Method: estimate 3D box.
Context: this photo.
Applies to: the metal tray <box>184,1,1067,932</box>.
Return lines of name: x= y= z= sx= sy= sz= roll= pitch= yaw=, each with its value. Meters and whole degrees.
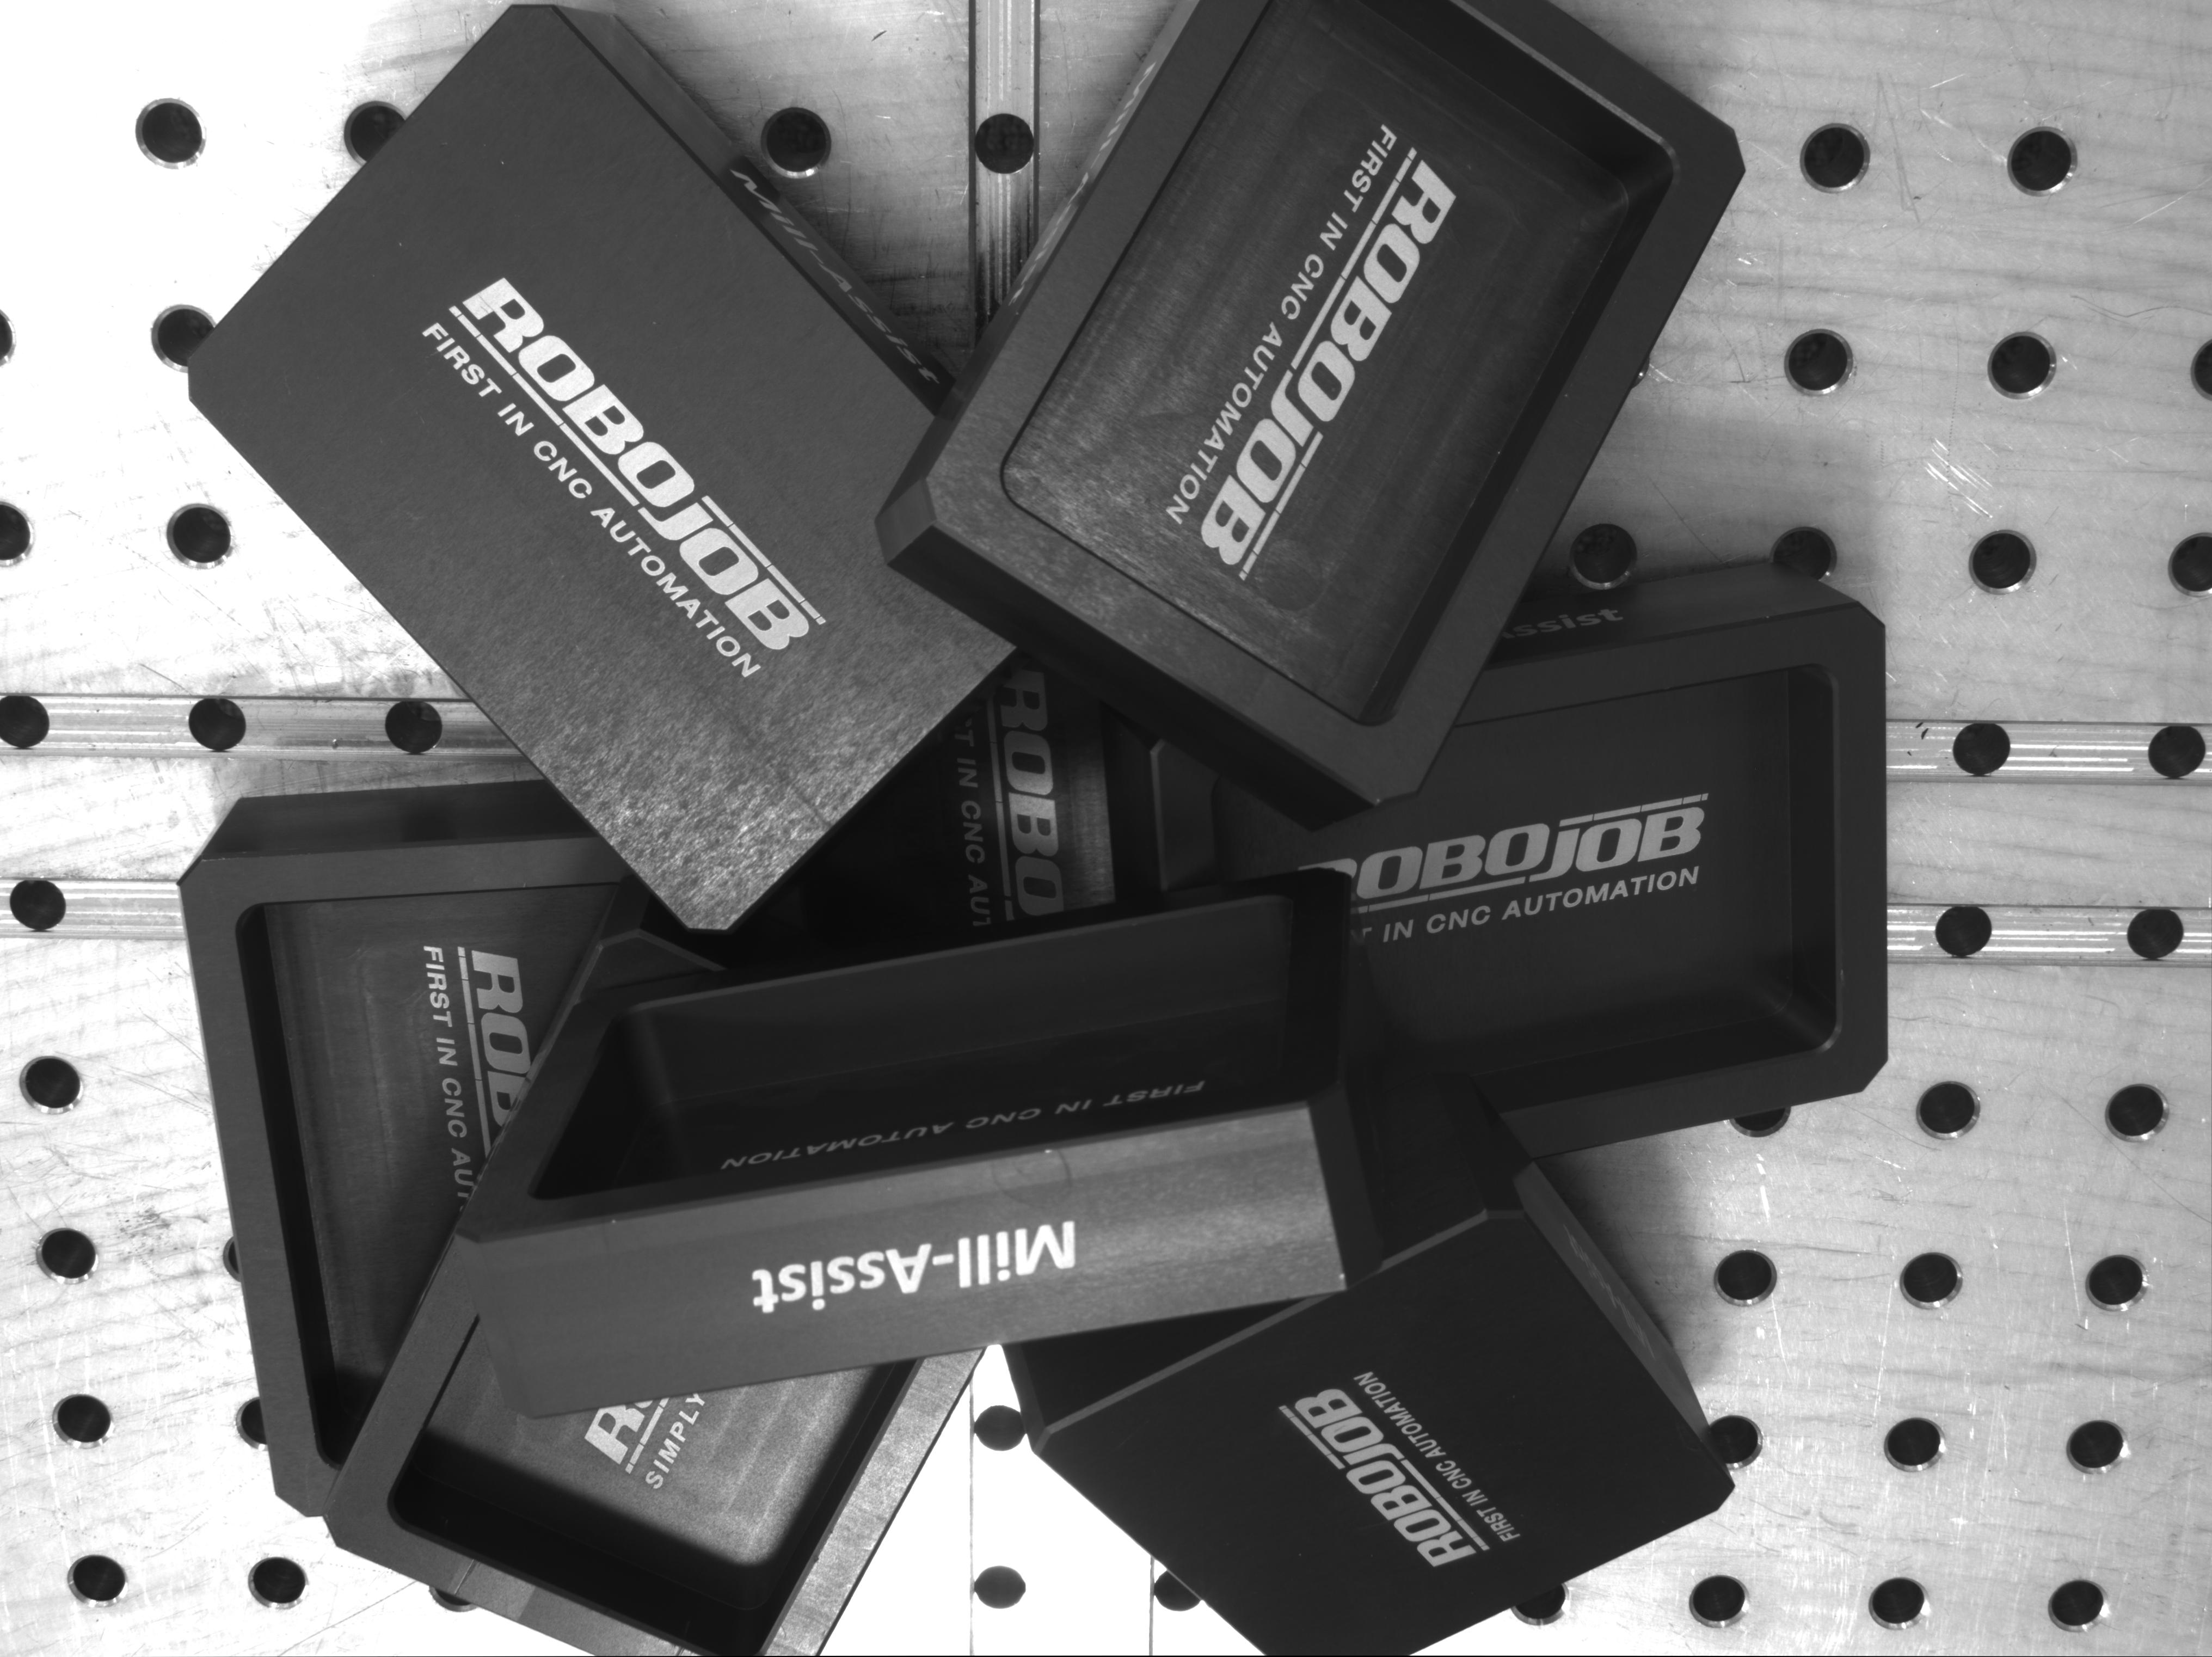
metal tray: x=-0.076 y=-0.059 z=0.604 sx=0.090 sy=0.030 sz=0.130 roll=-43 pitch=89 yaw=14

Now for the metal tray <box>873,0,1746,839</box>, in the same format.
metal tray: x=0.034 y=-0.076 z=0.581 sx=0.090 sy=0.030 sz=0.130 roll=32 pitch=74 yaw=-10

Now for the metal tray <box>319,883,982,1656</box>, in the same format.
metal tray: x=-0.070 y=0.083 z=0.642 sx=0.090 sy=0.030 sz=0.130 roll=25 pitch=108 yaw=-9

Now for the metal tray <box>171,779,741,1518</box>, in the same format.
metal tray: x=-0.112 y=0.058 z=0.665 sx=0.090 sy=0.030 sz=0.130 roll=-4 pitch=109 yaw=1

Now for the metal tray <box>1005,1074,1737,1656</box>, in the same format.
metal tray: x=0.048 y=0.101 z=0.646 sx=0.090 sy=0.030 sz=0.130 roll=-27 pitch=141 yaw=10

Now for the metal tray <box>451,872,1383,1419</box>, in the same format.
metal tray: x=-0.025 y=0.046 z=0.560 sx=0.130 sy=0.090 sz=0.030 roll=-10 pitch=110 yaw=8

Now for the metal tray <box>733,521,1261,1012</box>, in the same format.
metal tray: x=-0.016 y=0.008 z=0.647 sx=0.090 sy=0.030 sz=0.130 roll=-5 pitch=108 yaw=0

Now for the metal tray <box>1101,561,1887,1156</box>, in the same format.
metal tray: x=0.068 y=0.010 z=0.628 sx=0.130 sy=0.030 sz=0.090 roll=-10 pitch=111 yaw=-15
